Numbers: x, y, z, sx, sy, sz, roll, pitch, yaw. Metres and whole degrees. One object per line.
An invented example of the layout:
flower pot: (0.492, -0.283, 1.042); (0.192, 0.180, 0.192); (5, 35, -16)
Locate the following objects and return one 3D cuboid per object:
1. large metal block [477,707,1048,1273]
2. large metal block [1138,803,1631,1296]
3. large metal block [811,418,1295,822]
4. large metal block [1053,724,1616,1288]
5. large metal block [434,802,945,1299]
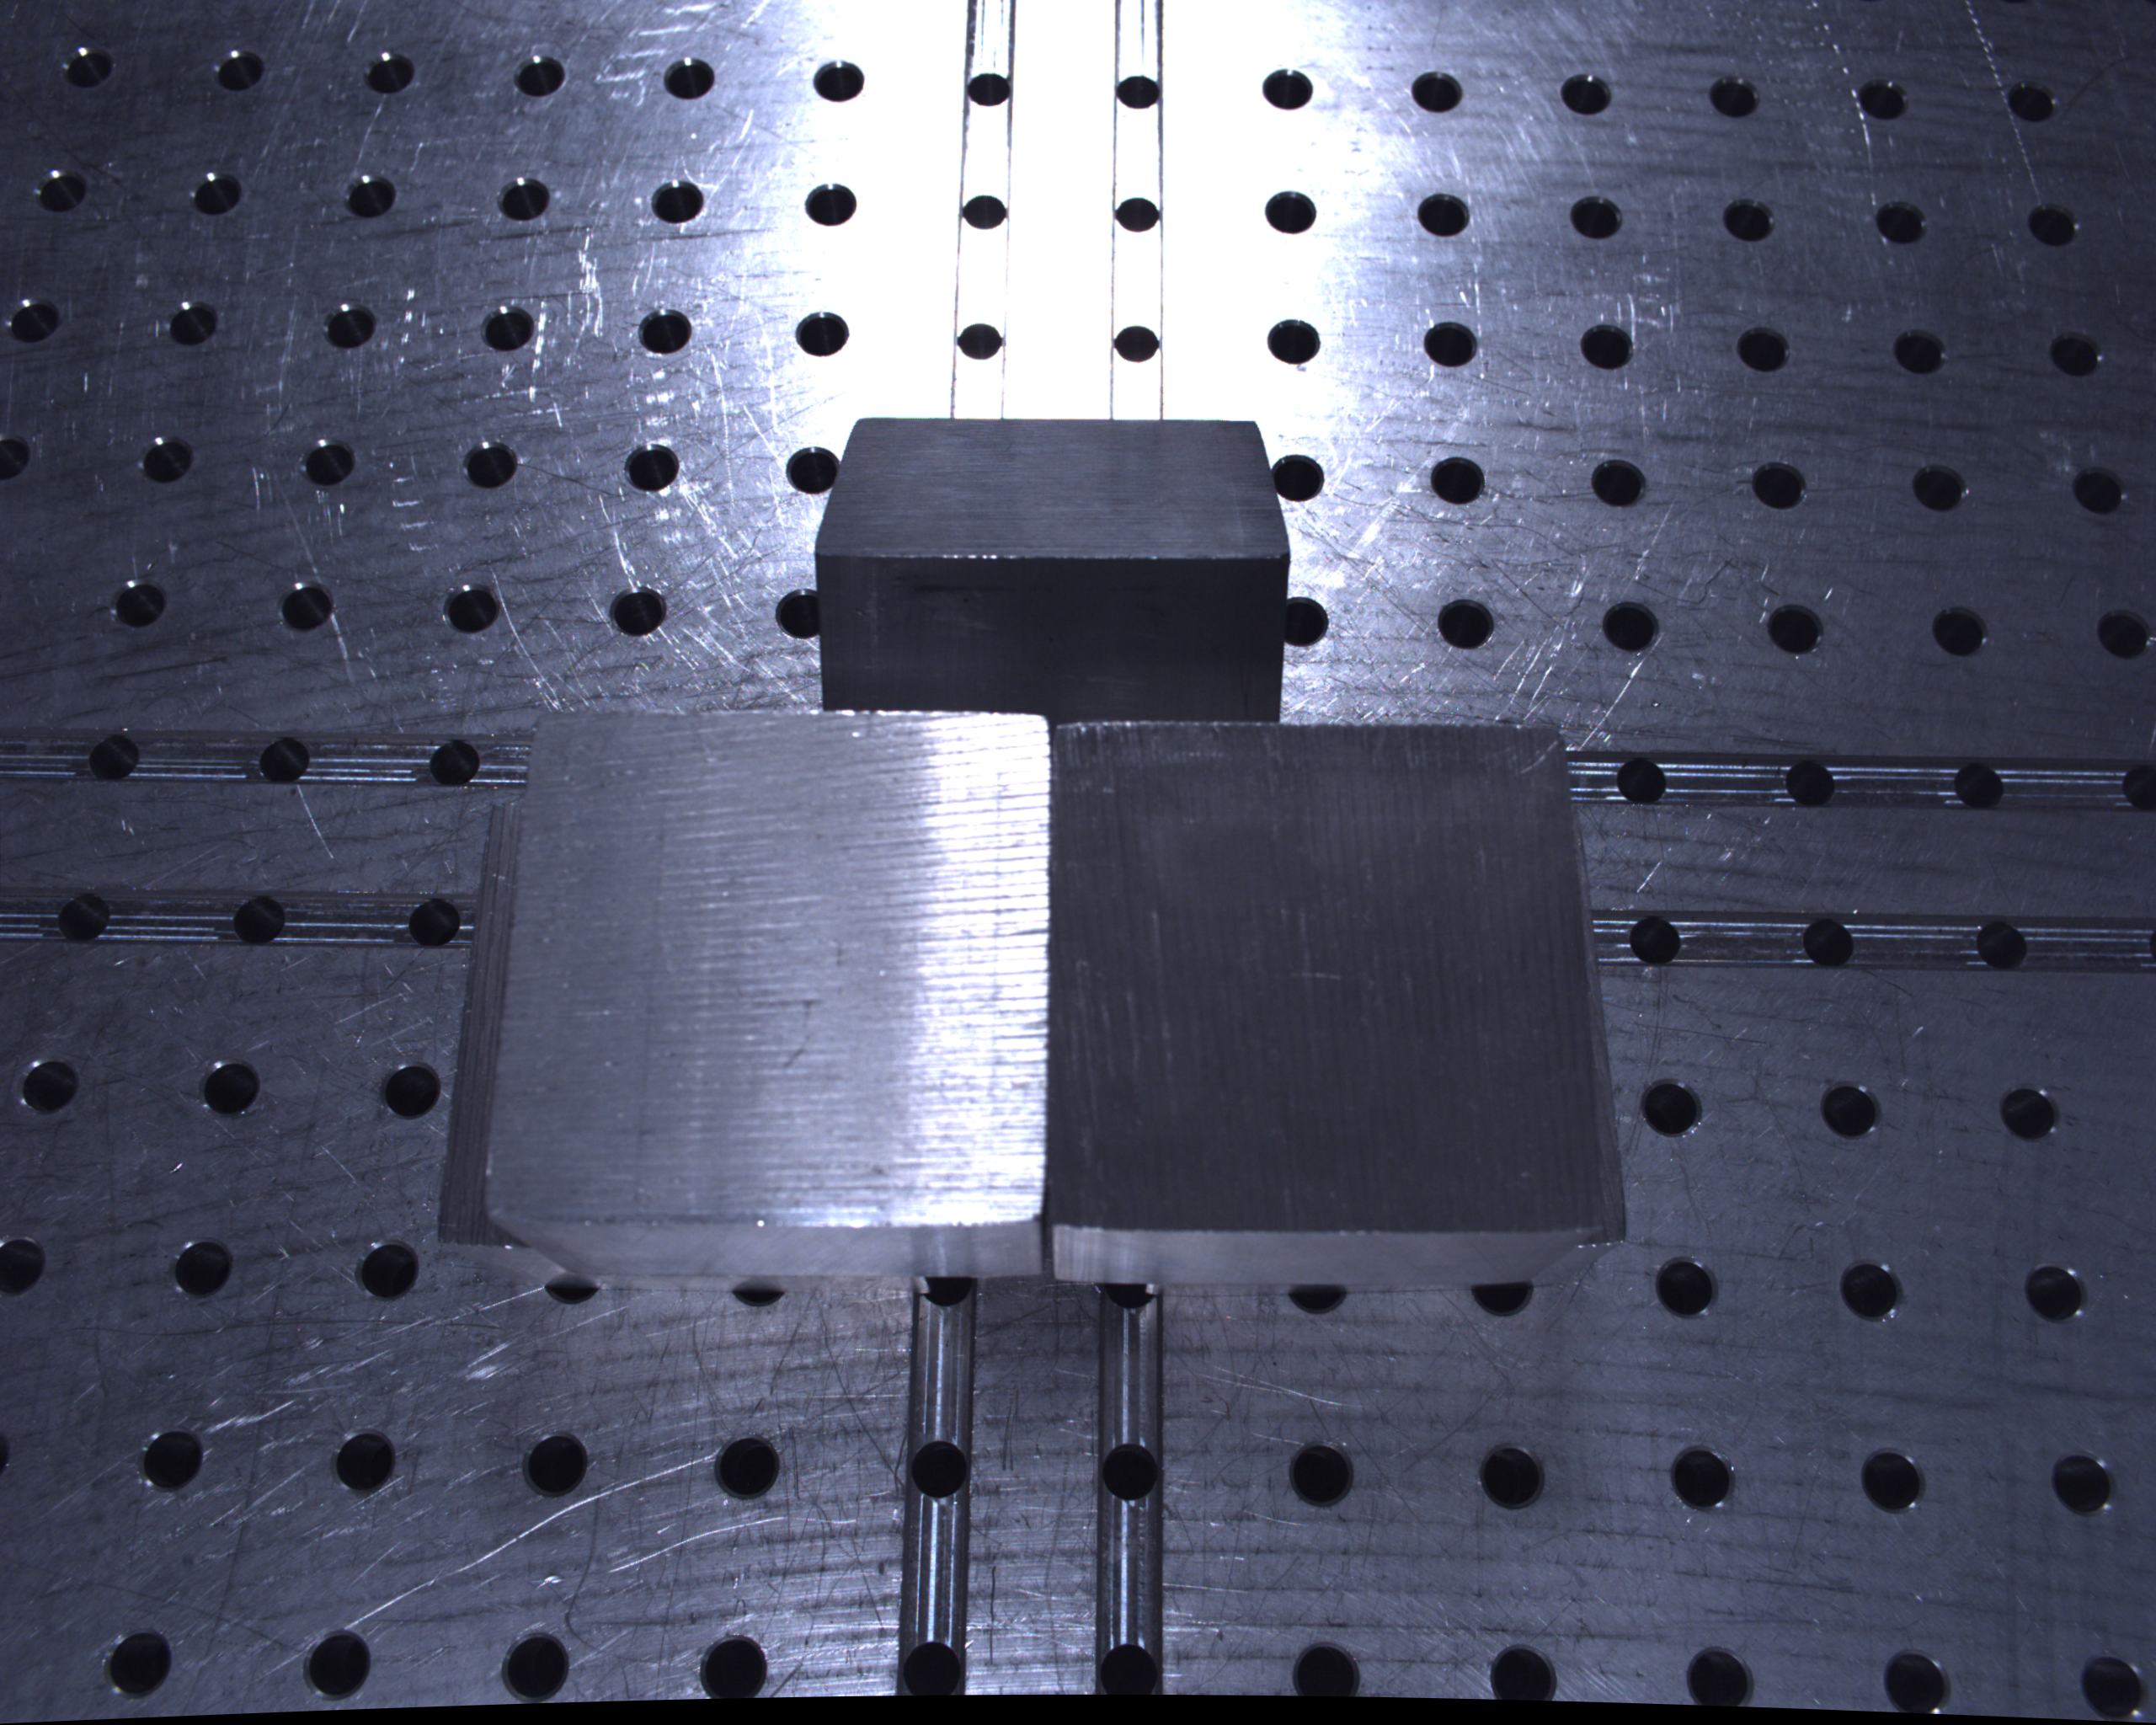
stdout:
large metal block: (-0.045, 0.022, 0.334); (0.081, 0.050, 0.080); (0, 70, -1)
large metal block: (0.051, 0.036, 0.385); (0.081, 0.050, 0.080); (-1, 70, -1)
large metal block: (-0.004, -0.048, 0.394); (0.081, 0.050, 0.080); (0, 28, -1)
large metal block: (0.036, 0.024, 0.335); (0.081, 0.050, 0.080); (0, 70, -1)
large metal block: (-0.066, 0.036, 0.385); (0.081, 0.050, 0.080); (1, 70, 0)
